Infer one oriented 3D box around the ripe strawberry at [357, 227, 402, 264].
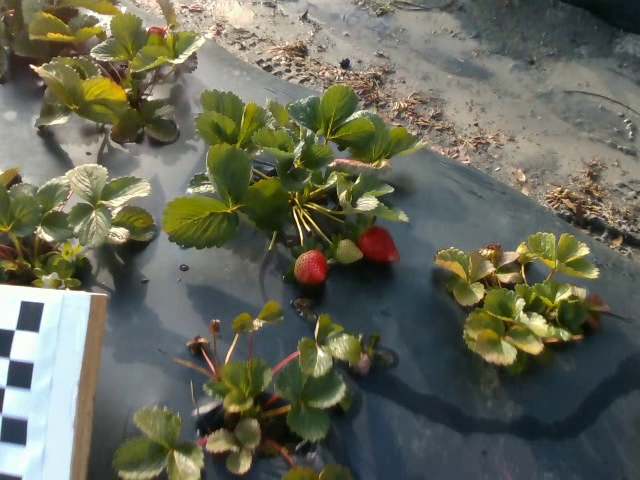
[{"bbox_3d":[0.076,0.008,0.750,0.065,0.049,0.050,47,9,22],"label":"ripe strawberry"}]
